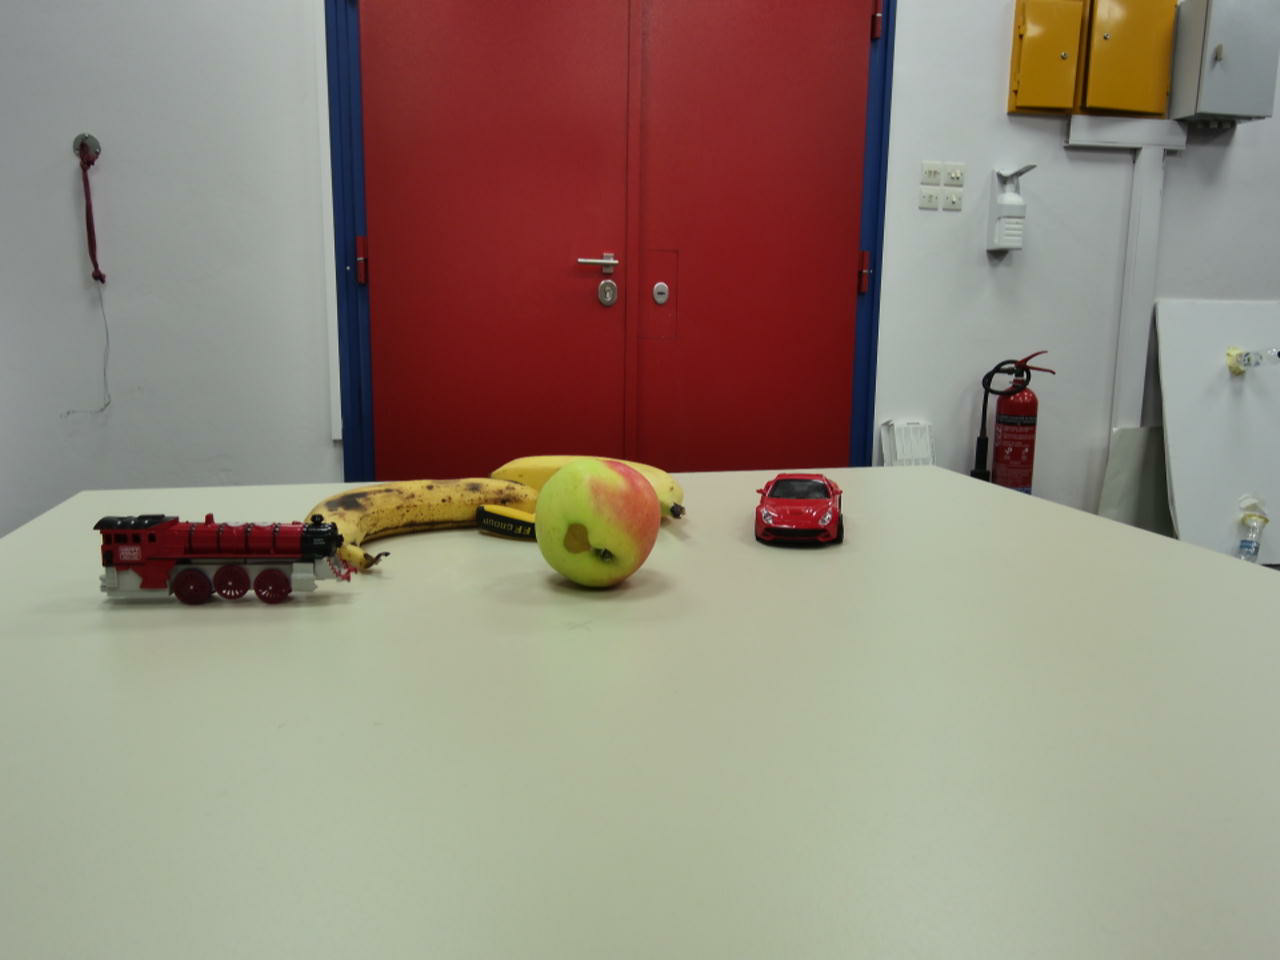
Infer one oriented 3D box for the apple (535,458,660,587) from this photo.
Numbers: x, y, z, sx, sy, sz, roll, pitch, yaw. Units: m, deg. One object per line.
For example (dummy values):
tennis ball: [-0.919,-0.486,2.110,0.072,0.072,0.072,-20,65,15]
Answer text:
apple: [-0.025,0.025,0.592,0.075,0.074,0.075,-4,9,-32]
